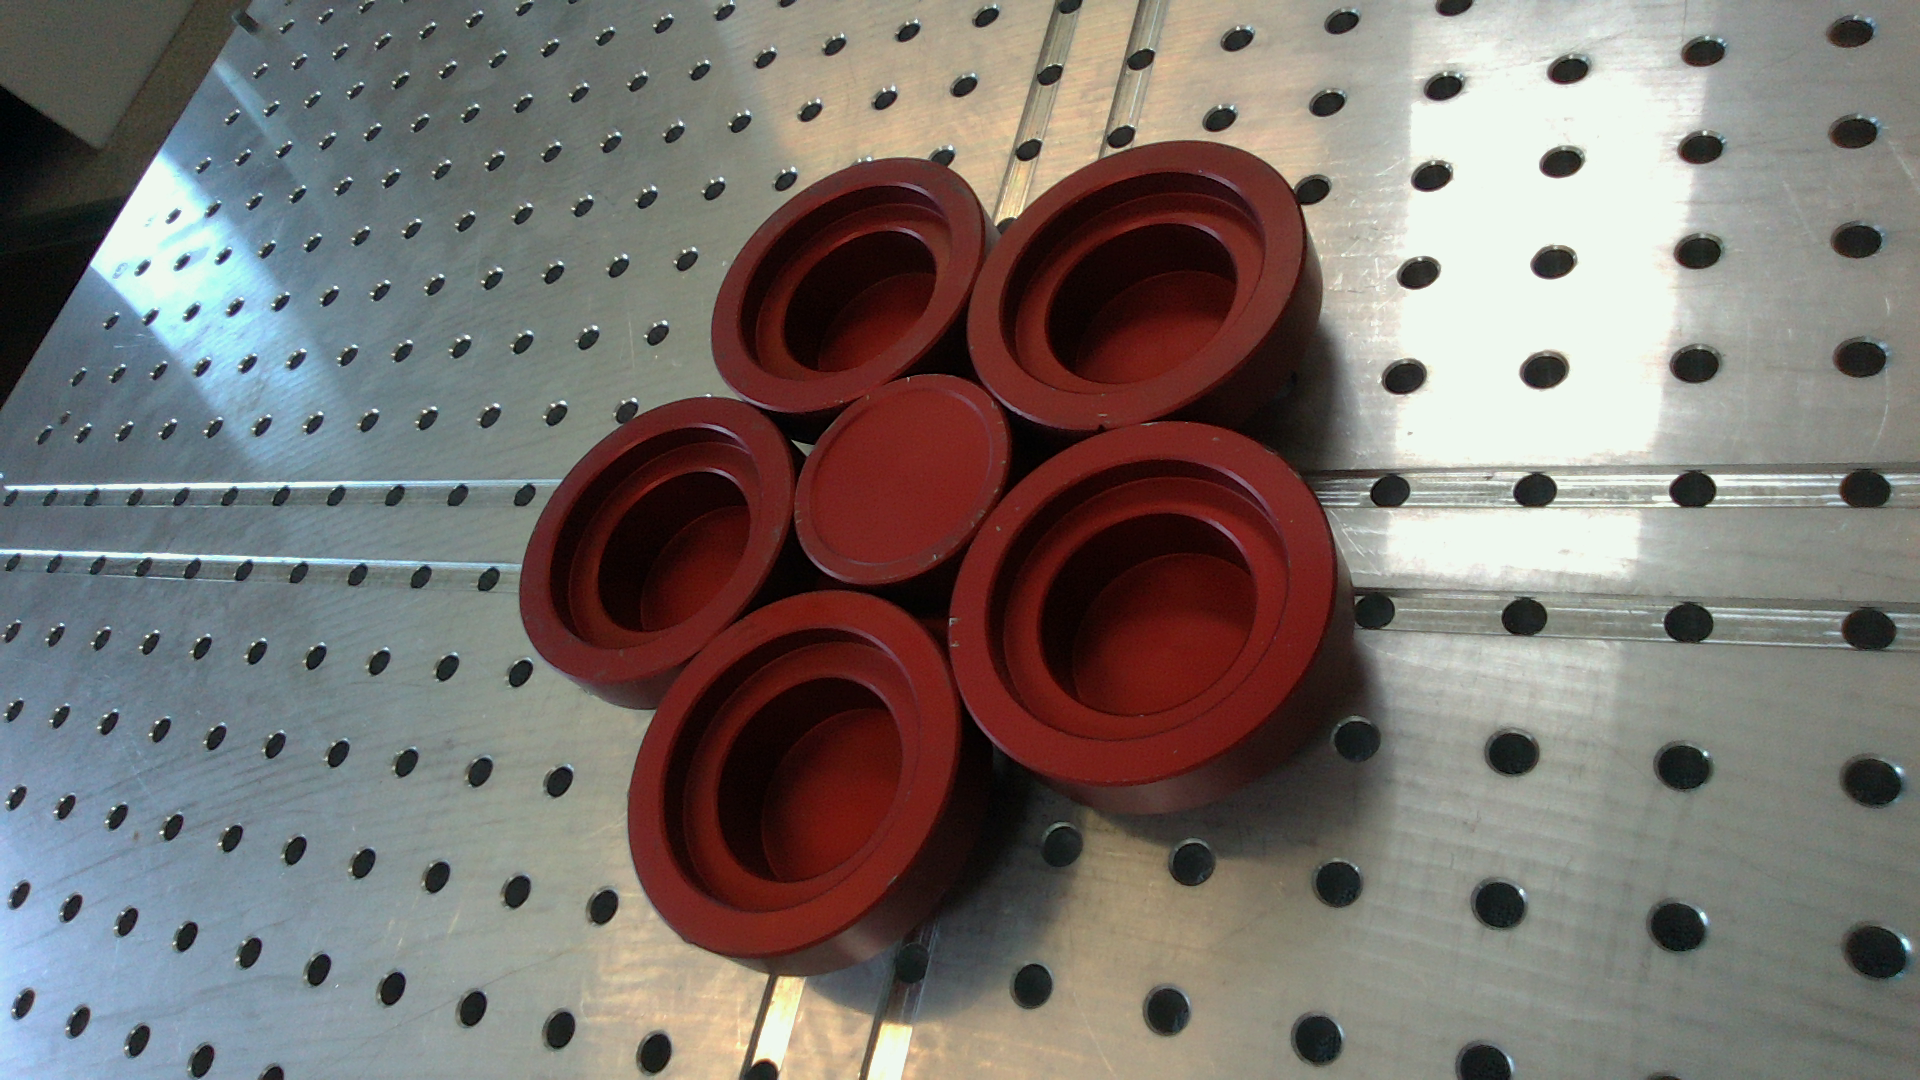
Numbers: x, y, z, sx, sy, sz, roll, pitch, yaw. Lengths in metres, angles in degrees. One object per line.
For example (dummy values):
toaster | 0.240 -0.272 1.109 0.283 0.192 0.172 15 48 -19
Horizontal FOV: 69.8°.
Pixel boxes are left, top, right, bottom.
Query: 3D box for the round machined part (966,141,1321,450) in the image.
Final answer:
round machined part | 0.055 -0.063 0.395 0.098 0.042 0.098 -13 56 21

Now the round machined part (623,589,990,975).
round machined part | -0.036 0.066 0.364 0.098 0.042 0.098 -13 56 21

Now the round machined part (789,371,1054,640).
round machined part | -0.009 -0.009 0.396 0.098 0.042 0.098 -13 56 21

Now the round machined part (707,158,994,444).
round machined part | -0.029 -0.072 0.446 0.098 0.042 0.098 -13 56 21

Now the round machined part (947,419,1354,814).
round machined part | 0.049 0.022 0.345 0.098 0.042 0.098 -13 56 21

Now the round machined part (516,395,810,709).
round machined part | -0.085 0.007 0.427 0.098 0.042 0.098 -13 56 21
